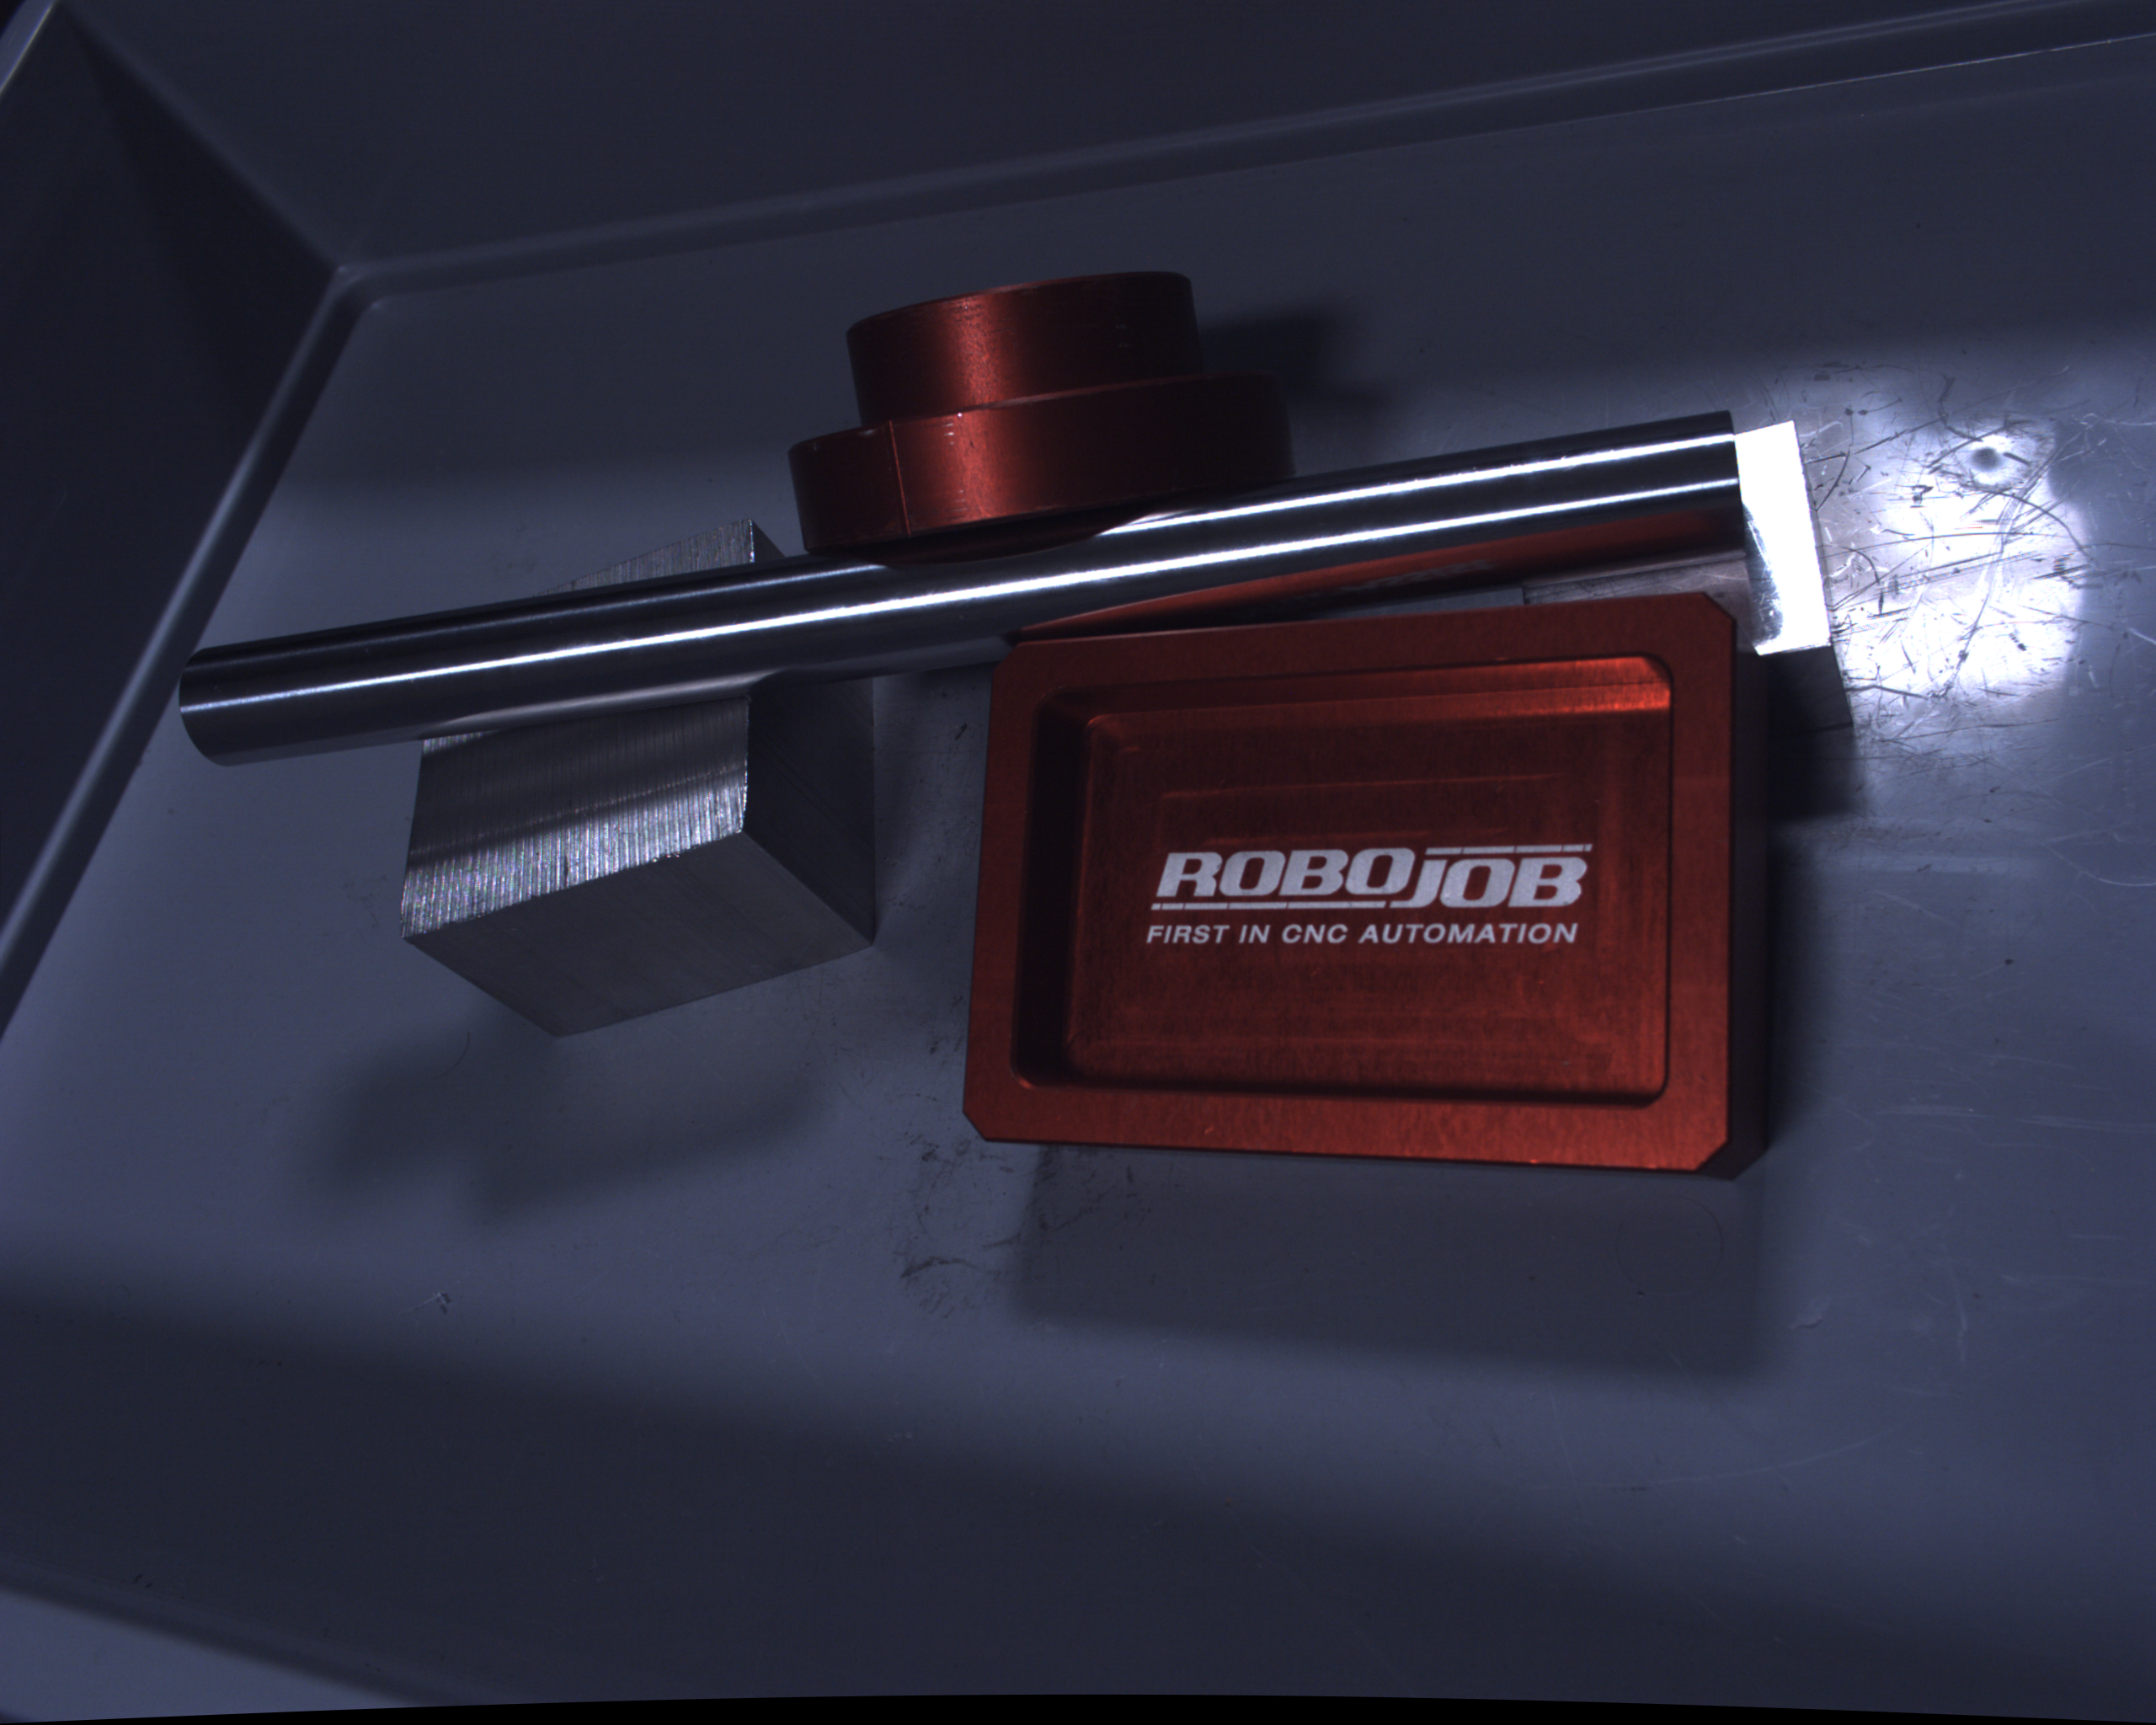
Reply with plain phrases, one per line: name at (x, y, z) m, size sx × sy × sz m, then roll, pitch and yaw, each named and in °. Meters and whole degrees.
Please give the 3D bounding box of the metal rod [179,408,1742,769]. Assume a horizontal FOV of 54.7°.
metal rod at (-0.034, -0.048, 0.392) m, size 0.301 × 0.025 × 0.025 m, roll -6°, pitch 59°, yaw 16°

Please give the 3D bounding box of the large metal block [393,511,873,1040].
large metal block at (-0.092, -0.017, 0.443) m, size 0.080 × 0.050 × 0.080 m, roll -16°, pitch 55°, yaw 18°

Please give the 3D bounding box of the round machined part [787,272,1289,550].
round machined part at (-0.009, -0.089, 0.412) m, size 0.098 × 0.098 × 0.042 m, roll -4°, pitch 100°, yaw 26°

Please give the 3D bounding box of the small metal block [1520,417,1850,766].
small metal block at (0.108, -0.047, 0.375) m, size 0.050 × 0.025 × 0.050 m, roll -11°, pitch 57°, yaw 22°

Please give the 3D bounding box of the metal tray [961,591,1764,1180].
metal tray at (0.046, 0.005, 0.354) m, size 0.130 × 0.030 × 0.090 m, roll -1°, pitch 80°, yaw 26°
